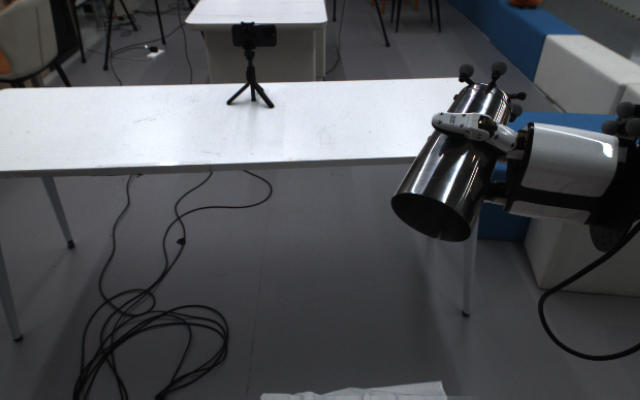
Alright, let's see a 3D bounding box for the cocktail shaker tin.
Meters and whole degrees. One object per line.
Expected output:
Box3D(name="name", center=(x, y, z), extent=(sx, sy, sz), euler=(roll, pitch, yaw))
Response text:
Box3D(name="cocktail shaker tin", center=(0.161, -0.052, 0.549), extent=(0.093, 0.093, 0.170), euler=(19, 67, 23))
